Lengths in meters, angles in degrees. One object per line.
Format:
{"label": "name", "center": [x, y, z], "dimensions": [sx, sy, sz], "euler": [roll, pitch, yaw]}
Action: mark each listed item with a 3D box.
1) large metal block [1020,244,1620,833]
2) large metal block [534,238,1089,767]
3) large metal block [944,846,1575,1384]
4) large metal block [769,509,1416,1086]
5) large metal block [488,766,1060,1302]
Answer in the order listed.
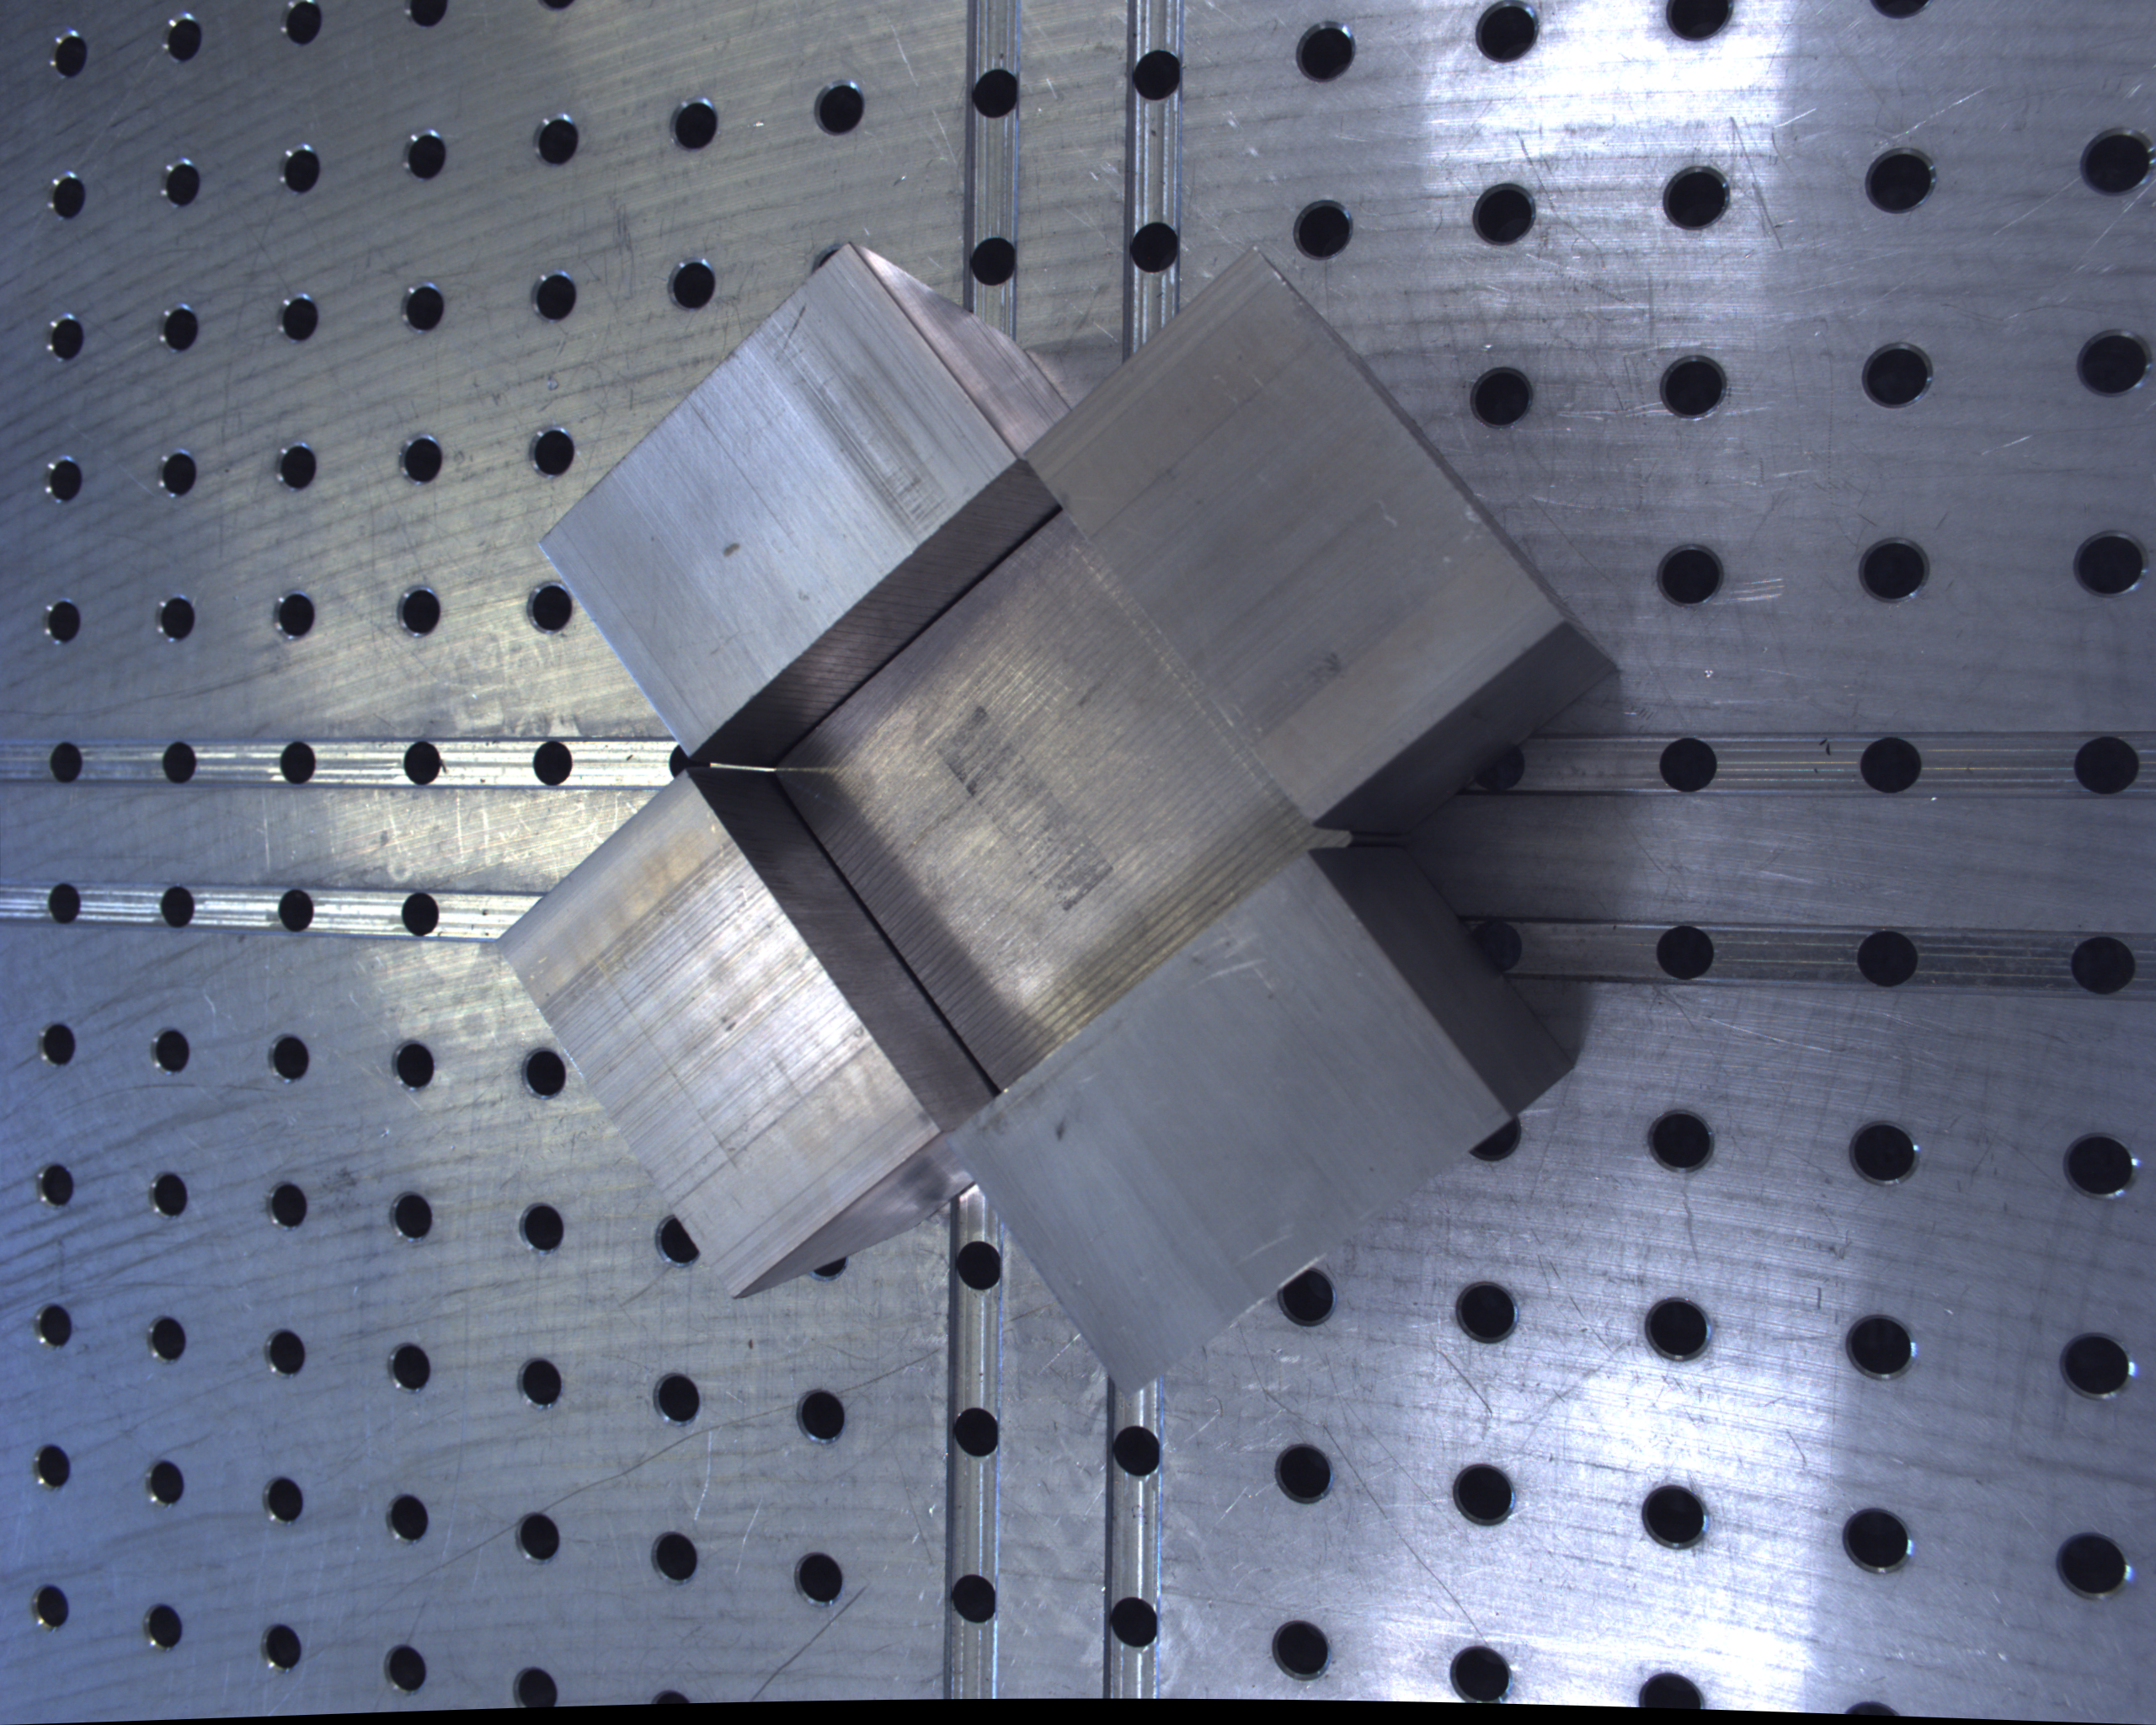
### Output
{"label": "large metal block", "center": [0.046, -0.052, 0.368], "dimensions": [0.050, 0.080, 0.080], "euler": [-40, 78, 15]}
{"label": "large metal block", "center": [-0.040, -0.062, 0.398], "dimensions": [0.080, 0.080, 0.050], "euler": [-40, 77, 16]}
{"label": "large metal block", "center": [0.036, 0.041, 0.372], "dimensions": [0.080, 0.080, 0.050], "euler": [-39, 78, 16]}
{"label": "large metal block", "center": [0.003, -0.011, 0.397], "dimensions": [0.080, 0.050, 0.080], "euler": [-40, 76, 17]}
{"label": "large metal block", "center": [-0.051, 0.029, 0.402], "dimensions": [0.050, 0.080, 0.080], "euler": [-40, 78, 16]}
